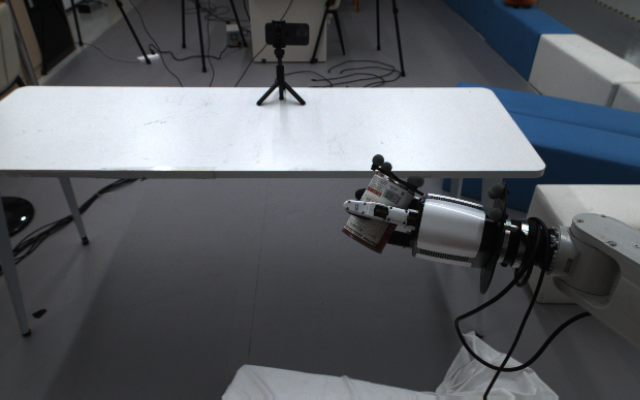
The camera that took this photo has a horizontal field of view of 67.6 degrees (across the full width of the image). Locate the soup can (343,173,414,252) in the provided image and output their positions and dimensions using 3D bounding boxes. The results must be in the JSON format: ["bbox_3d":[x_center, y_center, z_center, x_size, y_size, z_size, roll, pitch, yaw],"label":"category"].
[{"bbox_3d":[0.087,0.018,0.712,0.067,0.101,0.067,30,2,-1],"label":"soup can"}]
